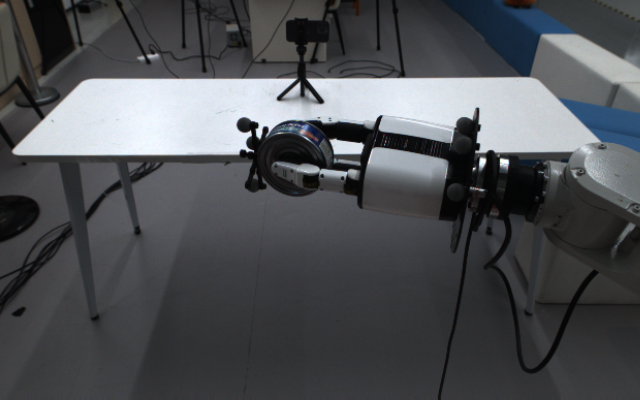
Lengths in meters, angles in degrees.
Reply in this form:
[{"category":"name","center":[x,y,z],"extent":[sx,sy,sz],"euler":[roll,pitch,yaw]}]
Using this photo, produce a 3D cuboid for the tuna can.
[{"category":"tuna can","center":[-0.025,-0.045,0.562],"extent":[0.085,0.085,0.034],"euler":[9,33,10]}]
